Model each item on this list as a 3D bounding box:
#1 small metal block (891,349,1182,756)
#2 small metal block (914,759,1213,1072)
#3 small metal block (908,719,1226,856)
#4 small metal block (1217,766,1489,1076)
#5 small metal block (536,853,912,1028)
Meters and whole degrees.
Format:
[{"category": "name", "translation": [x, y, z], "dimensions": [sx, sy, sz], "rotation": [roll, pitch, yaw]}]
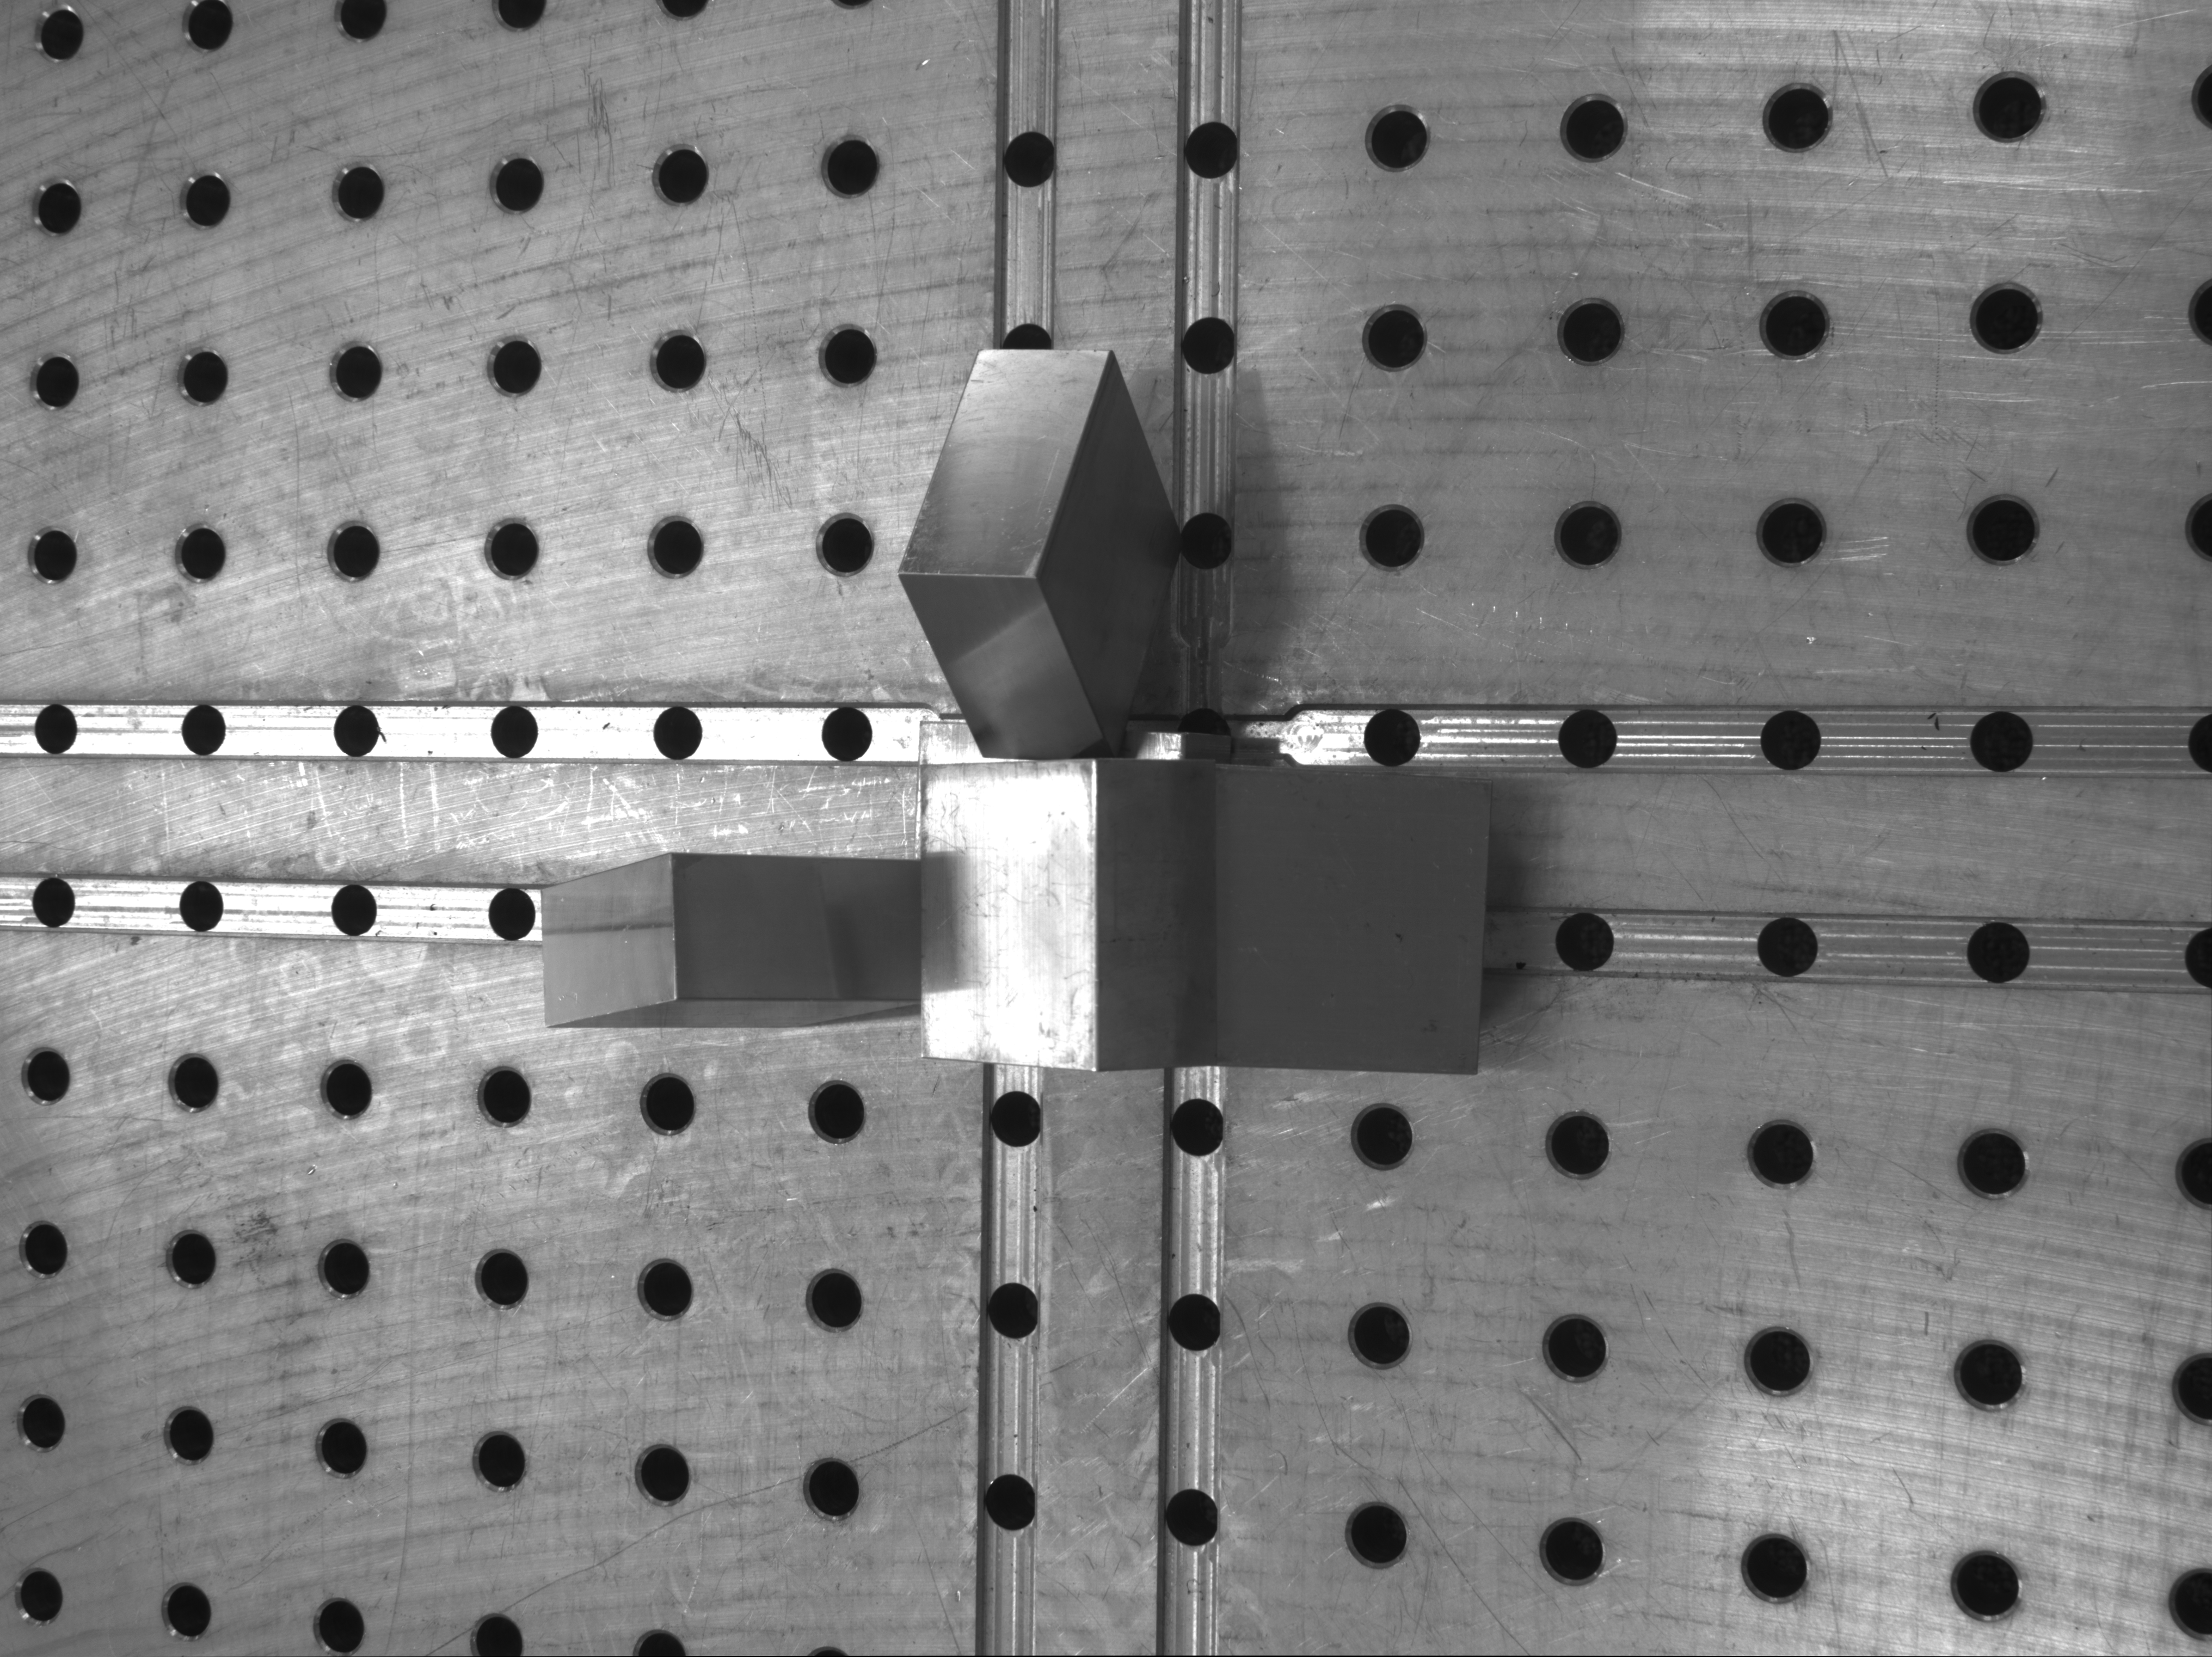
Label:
[{"category": "small metal block", "translation": [-0.011, -0.046, 0.629], "dimensions": [0.025, 0.050, 0.050], "rotation": [3, 55, 21]}, {"category": "small metal block", "translation": [-0.008, 0.014, 0.613], "dimensions": [0.050, 0.025, 0.050], "rotation": [-1, 89, 53]}, {"category": "small metal block", "translation": [-0.007, 0.007, 0.652], "dimensions": [0.050, 0.025, 0.050], "rotation": [3, 91, 20]}, {"category": "small metal block", "translation": [0.036, 0.015, 0.625], "dimensions": [0.050, 0.025, 0.050], "rotation": [3, 91, -11]}, {"category": "small metal block", "translation": [-0.067, 0.021, 0.650], "dimensions": [0.050, 0.050, 0.025], "rotation": [-13, 78, 54]}]
